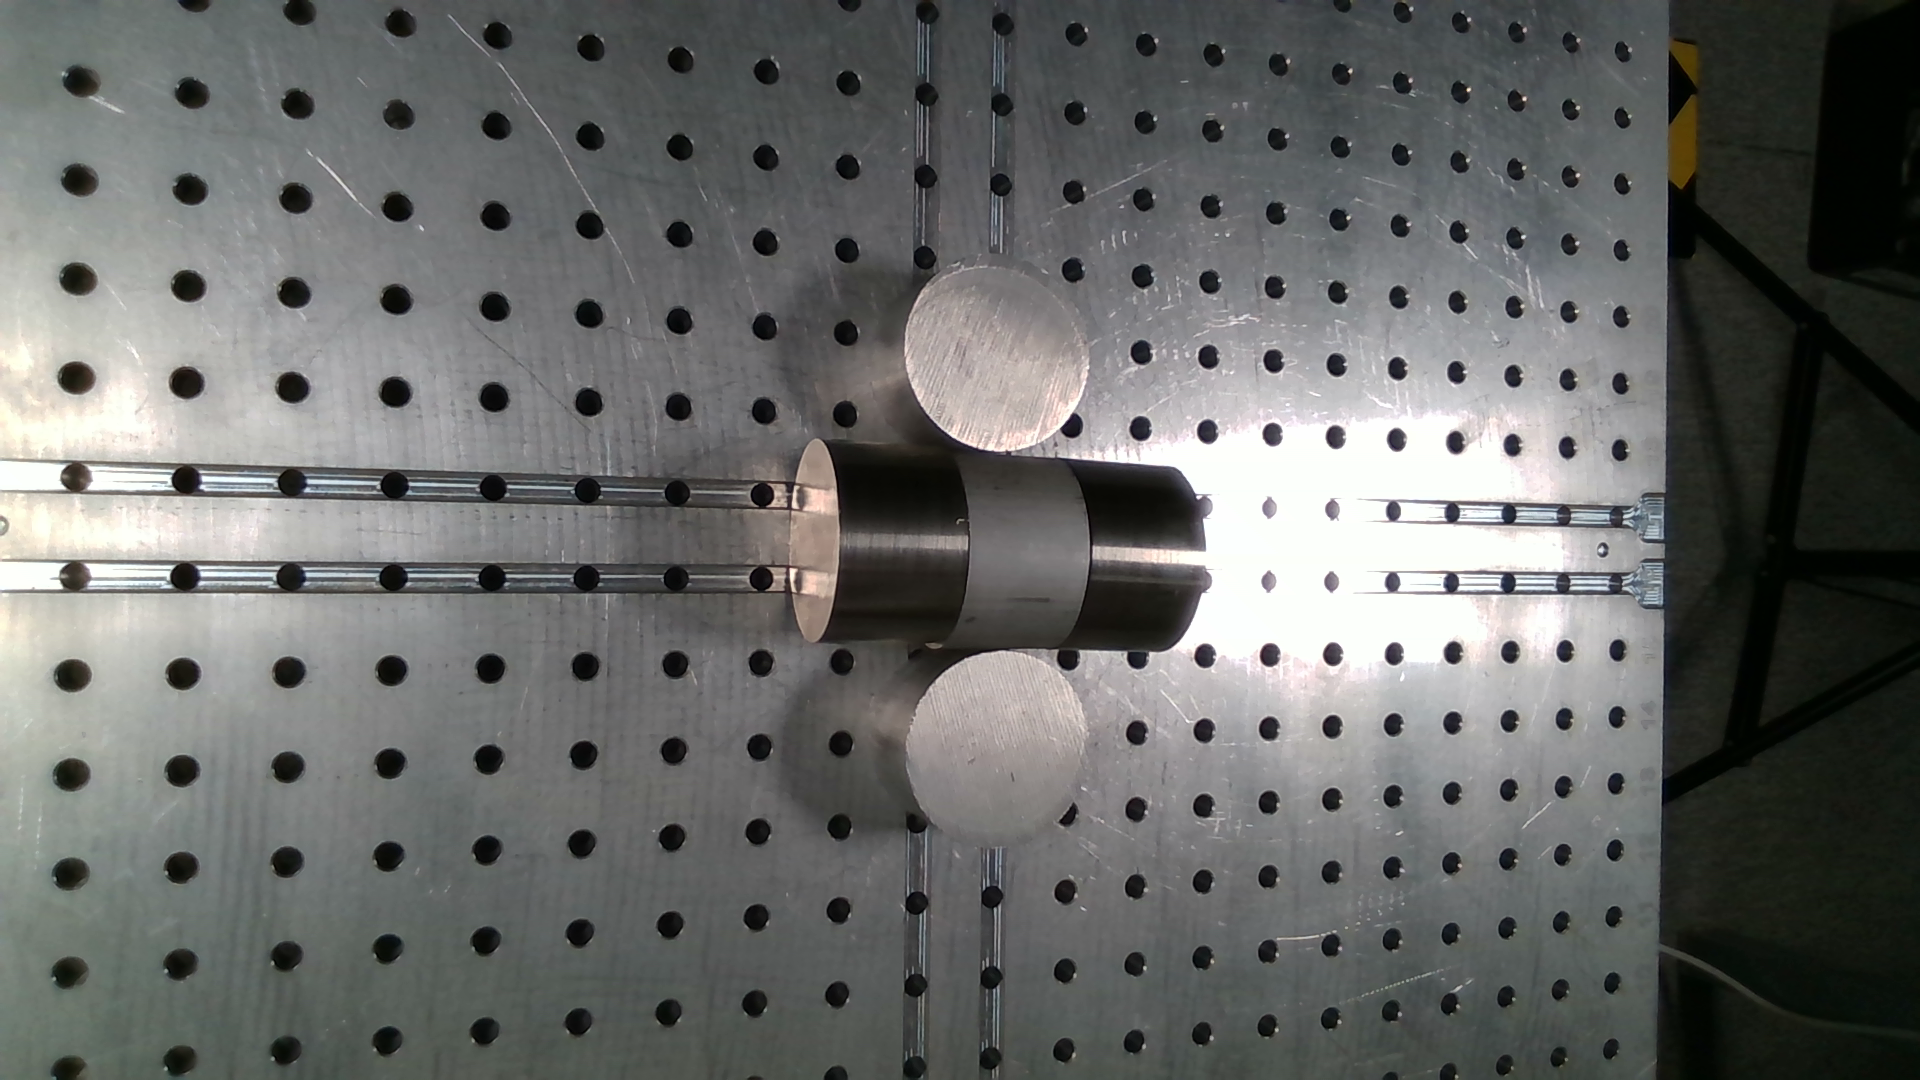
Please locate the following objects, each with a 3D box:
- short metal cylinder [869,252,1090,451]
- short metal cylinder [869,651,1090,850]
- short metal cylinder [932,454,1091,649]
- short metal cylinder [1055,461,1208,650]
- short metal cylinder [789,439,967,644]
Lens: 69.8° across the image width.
[{"bbox_3d":[0.007,-0.076,0.577,0.080,0.050,0.080,0,90,-20],"label":"short metal cylinder"},{"bbox_3d":[0.007,0.085,0.577,0.080,0.050,0.080,0,90,-20],"label":"short metal cylinder"},{"bbox_3d":[0.013,0.005,0.564,0.050,0.080,0.080,2,89,-20],"label":"short metal cylinder"},{"bbox_3d":[0.062,0.007,0.581,0.050,0.080,0.080,3,89,-20],"label":"short metal cylinder"},{"bbox_3d":[-0.035,0.001,0.546,0.050,0.080,0.080,1,90,-20],"label":"short metal cylinder"}]
